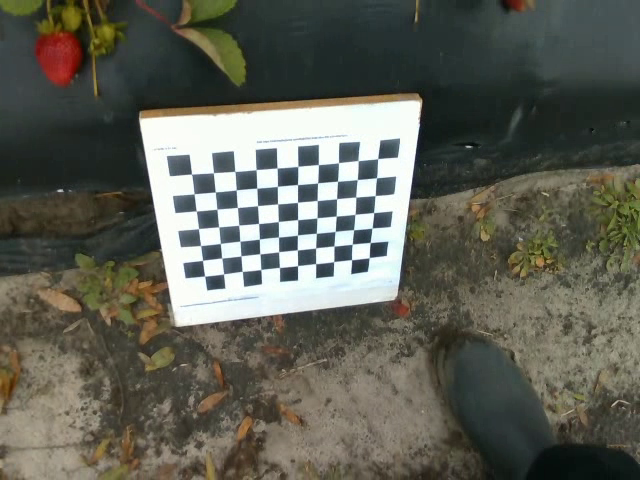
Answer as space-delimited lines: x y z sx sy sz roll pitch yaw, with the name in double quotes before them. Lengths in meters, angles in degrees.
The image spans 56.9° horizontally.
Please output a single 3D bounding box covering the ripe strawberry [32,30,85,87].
"ripe strawberry" -0.074 -0.047 0.161 0.018 0.017 0.014 -7 -7 -19
